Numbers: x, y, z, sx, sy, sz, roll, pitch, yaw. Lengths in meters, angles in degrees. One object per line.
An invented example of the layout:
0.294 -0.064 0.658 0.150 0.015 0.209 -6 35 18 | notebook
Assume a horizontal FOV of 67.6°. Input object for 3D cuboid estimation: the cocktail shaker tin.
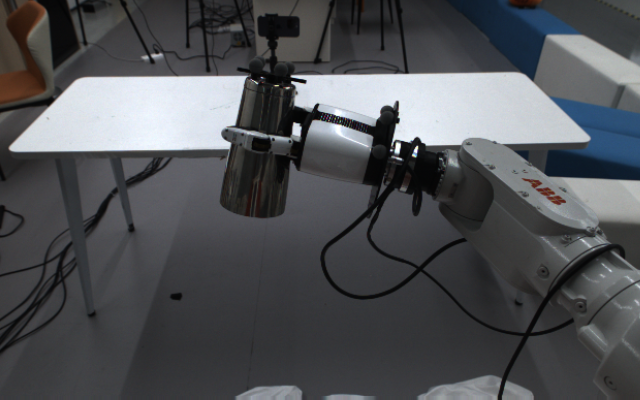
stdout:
-0.078 -0.072 0.646 0.093 0.170 0.093 10 19 -4 | cocktail shaker tin
